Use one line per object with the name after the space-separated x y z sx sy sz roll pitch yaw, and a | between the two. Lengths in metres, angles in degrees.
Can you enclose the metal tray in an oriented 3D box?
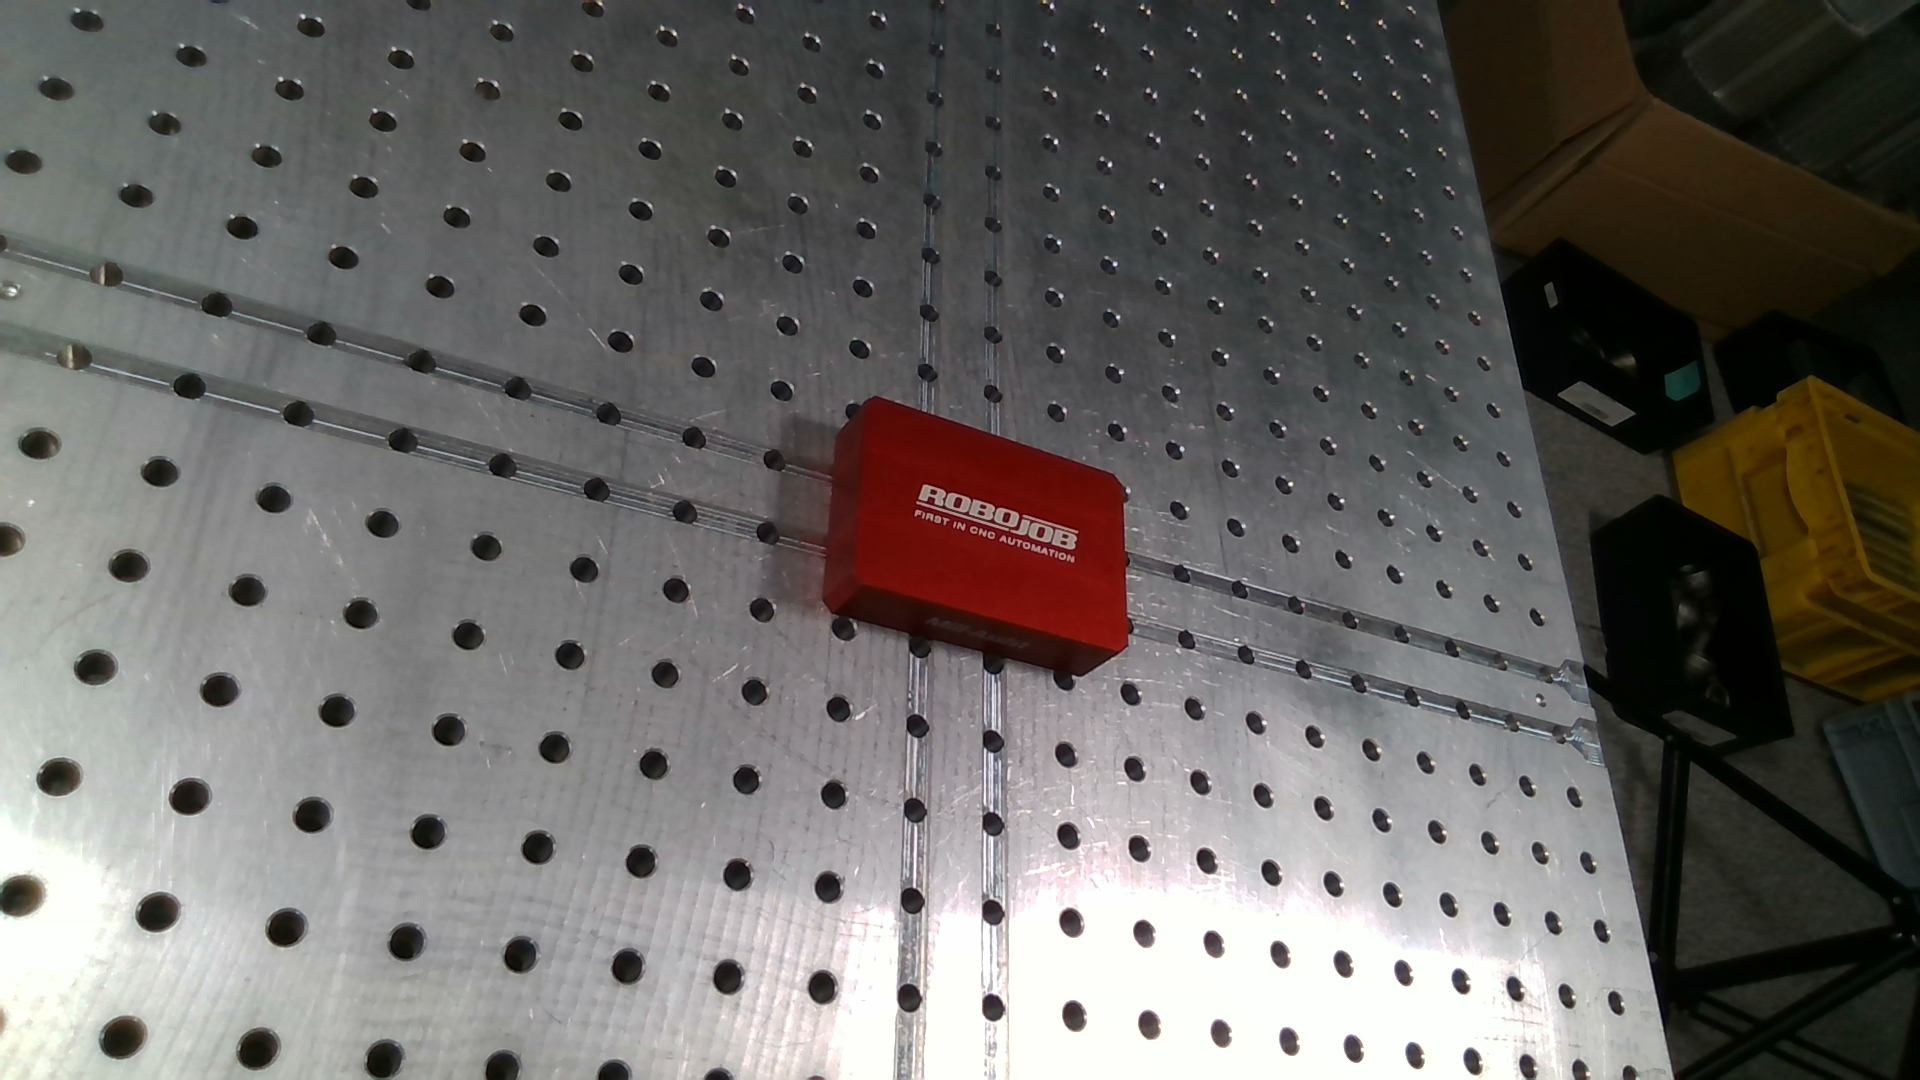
0.009 -0.001 0.591 0.130 0.030 0.090 16 58 -24 | metal tray
